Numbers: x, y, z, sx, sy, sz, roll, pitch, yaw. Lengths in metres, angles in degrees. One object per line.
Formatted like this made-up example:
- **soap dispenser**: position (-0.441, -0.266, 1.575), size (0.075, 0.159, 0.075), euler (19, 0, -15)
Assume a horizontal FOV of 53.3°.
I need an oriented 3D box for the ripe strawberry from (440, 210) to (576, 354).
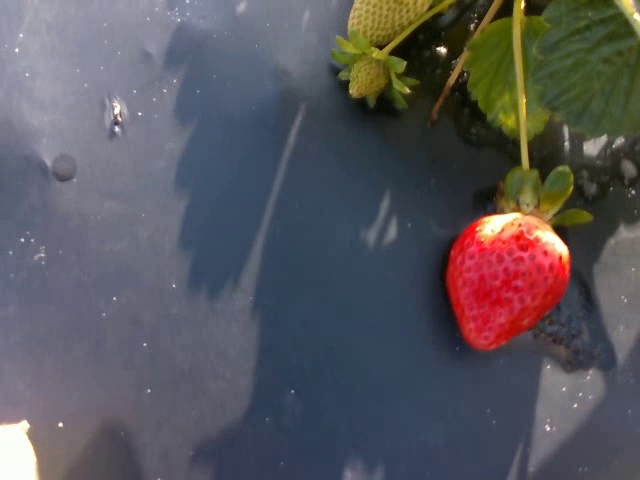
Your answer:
- **ripe strawberry**: position (0.047, 0.014, 0.160), size (0.030, 0.045, 0.033), euler (20, -17, 44)
